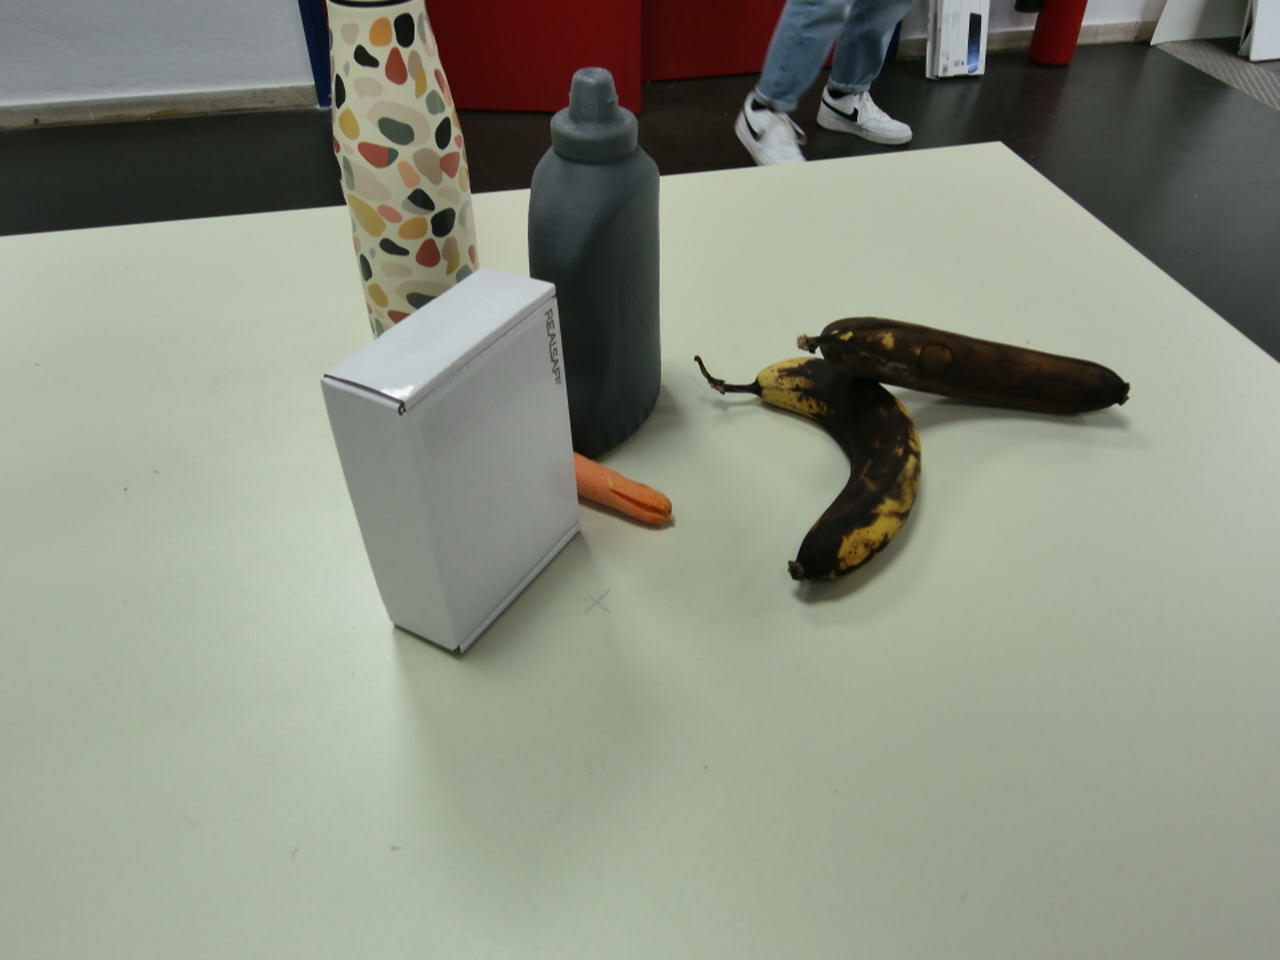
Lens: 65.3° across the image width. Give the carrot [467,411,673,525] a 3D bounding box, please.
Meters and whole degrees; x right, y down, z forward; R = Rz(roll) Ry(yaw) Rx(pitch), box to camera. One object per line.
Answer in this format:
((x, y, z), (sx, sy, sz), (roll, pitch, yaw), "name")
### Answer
((-0.042, -0.008, 0.560), (0.136, 0.032, 0.030), (22, 43, 25), "carrot")
